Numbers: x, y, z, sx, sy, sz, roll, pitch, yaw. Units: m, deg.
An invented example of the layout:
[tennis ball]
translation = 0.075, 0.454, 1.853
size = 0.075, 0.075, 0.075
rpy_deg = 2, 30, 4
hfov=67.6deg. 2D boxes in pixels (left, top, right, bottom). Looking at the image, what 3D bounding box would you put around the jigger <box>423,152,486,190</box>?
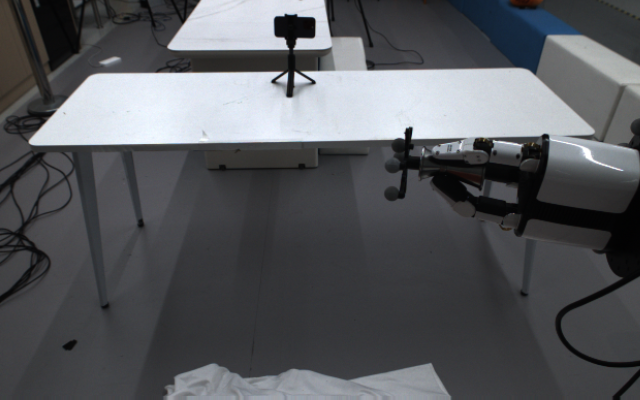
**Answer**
[jigger]
translation = 0.153, -0.042, 0.535
size = 0.071, 0.043, 0.043
rpy_deg = 8, 35, 14
